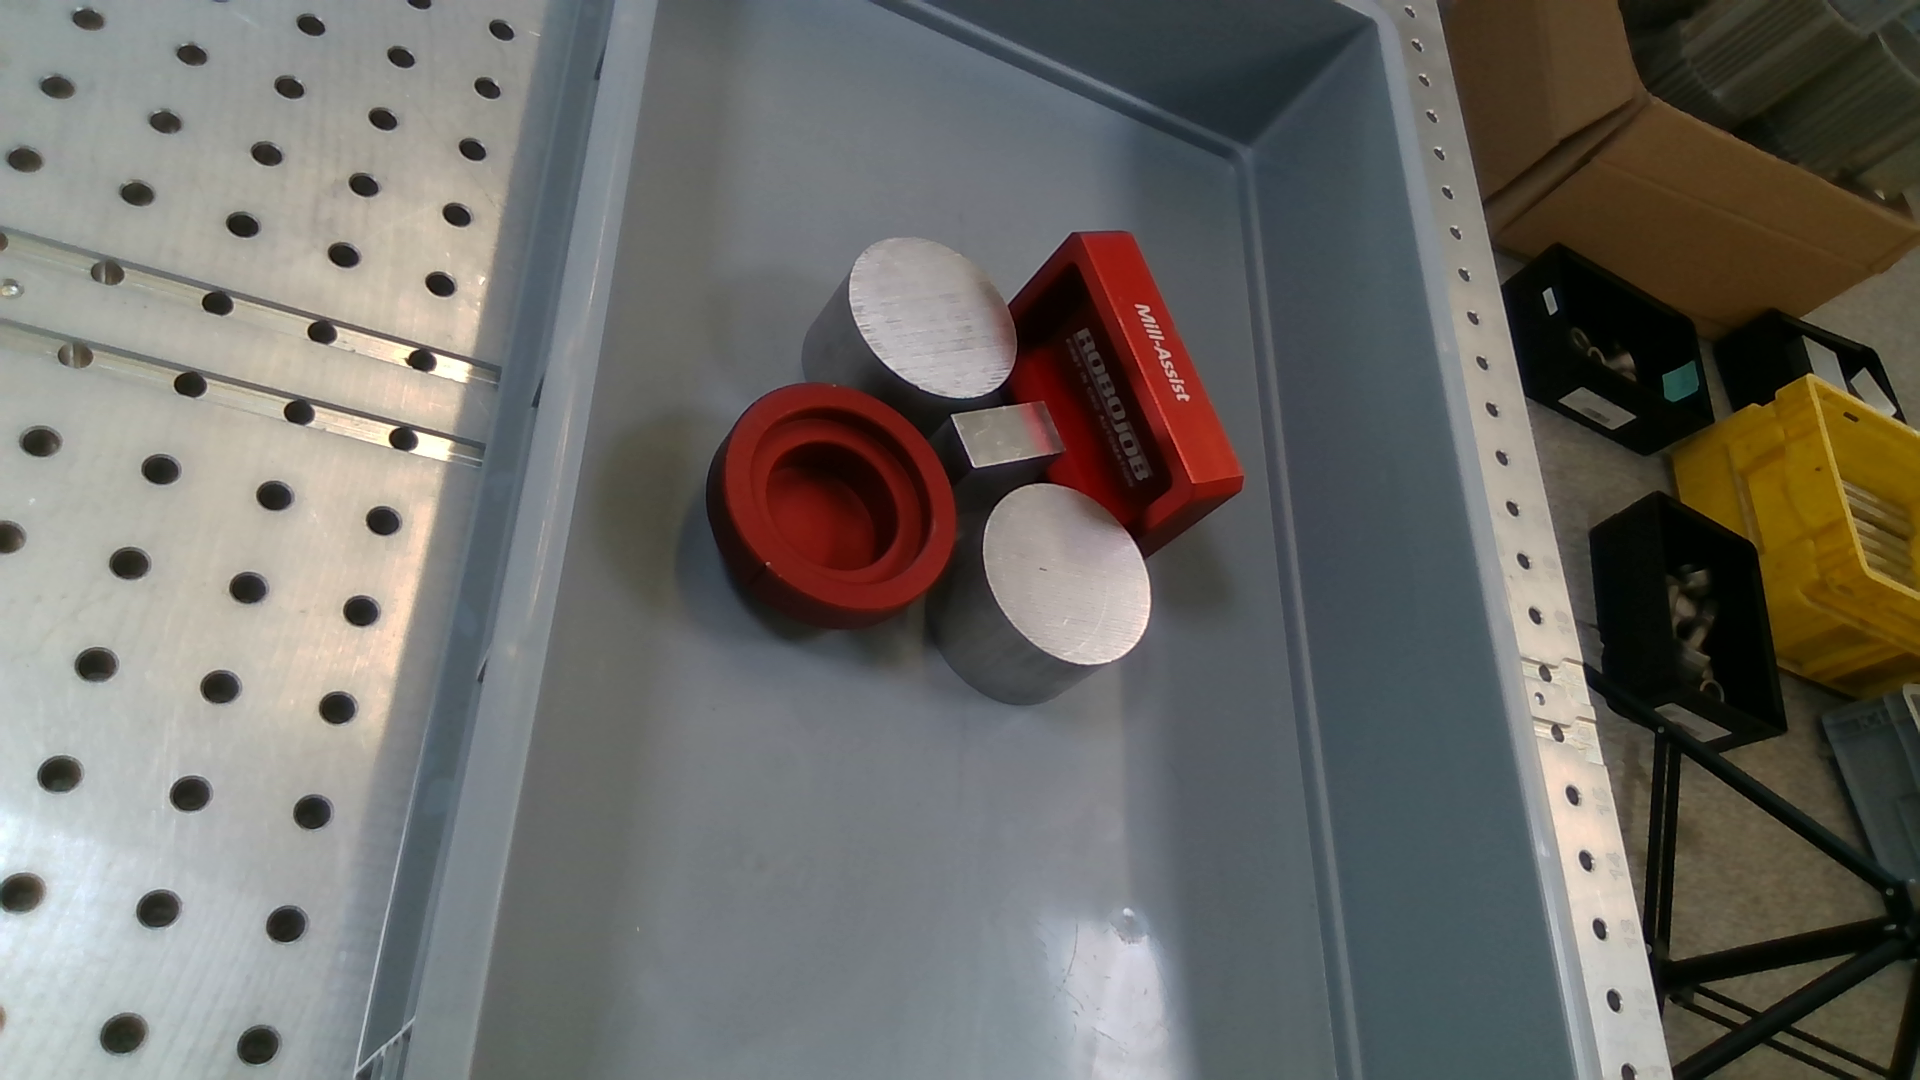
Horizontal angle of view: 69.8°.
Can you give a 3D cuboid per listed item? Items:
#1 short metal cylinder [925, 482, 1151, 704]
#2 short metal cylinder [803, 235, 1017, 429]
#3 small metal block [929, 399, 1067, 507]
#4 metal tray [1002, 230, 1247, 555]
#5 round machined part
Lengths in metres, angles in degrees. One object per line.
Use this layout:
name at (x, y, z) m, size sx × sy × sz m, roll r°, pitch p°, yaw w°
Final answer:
short metal cylinder at (0.032, 0.023, 0.576) m, size 0.080 × 0.050 × 0.080 m, roll 14°, pitch 59°, yaw -25°
short metal cylinder at (-0.022, -0.085, 0.600) m, size 0.080 × 0.050 × 0.080 m, roll 14°, pitch 59°, yaw -25°
small metal block at (0.009, -0.035, 0.592) m, size 0.050 × 0.050 × 0.025 m, roll -12°, pitch 72°, yaw -36°
metal tray at (0.065, -0.060, 0.614) m, size 0.030 × 0.090 × 0.130 m, roll -11°, pitch 71°, yaw -35°
round machined part at (-0.054, -0.010, 0.546) m, size 0.098 × 0.042 × 0.098 m, roll 14°, pitch 59°, yaw -25°
